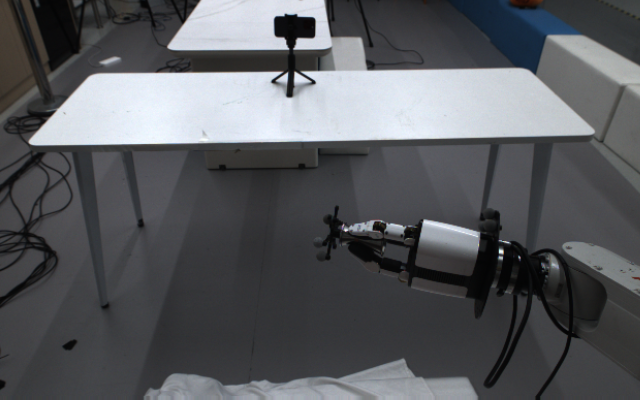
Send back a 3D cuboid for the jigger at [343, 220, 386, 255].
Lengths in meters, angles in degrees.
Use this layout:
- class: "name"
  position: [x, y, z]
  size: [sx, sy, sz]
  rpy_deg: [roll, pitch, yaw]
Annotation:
- class: "jigger"
  position: [0.074, 0.055, 0.753]
  size: [0.071, 0.043, 0.043]
  rpy_deg: [9, 35, 16]
